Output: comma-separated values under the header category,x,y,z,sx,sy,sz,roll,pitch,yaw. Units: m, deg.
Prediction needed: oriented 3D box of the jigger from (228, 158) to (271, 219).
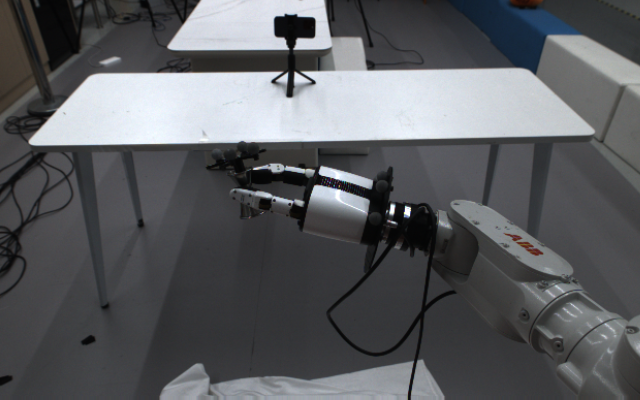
category,x,y,z,sx,sy,sz,roll,pitch,yaw
jigger,-0.105,-0.012,0.706,0.043,0.071,0.043,-15,15,4
